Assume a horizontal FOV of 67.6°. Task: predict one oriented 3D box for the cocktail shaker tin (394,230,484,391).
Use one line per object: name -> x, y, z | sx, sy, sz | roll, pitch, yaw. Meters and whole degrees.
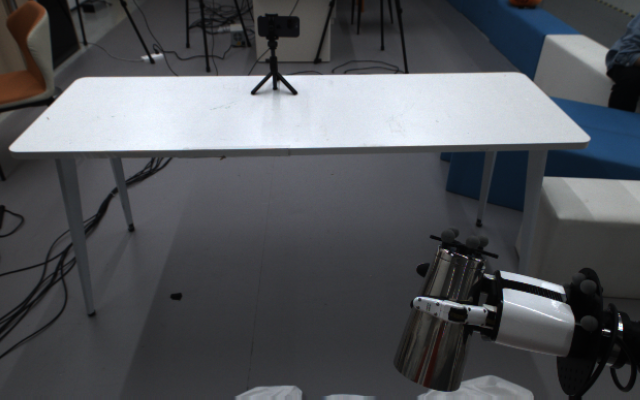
cocktail shaker tin -> 0.166, 0.150, 0.643 | 0.093, 0.170, 0.093 | 14, 6, -2
